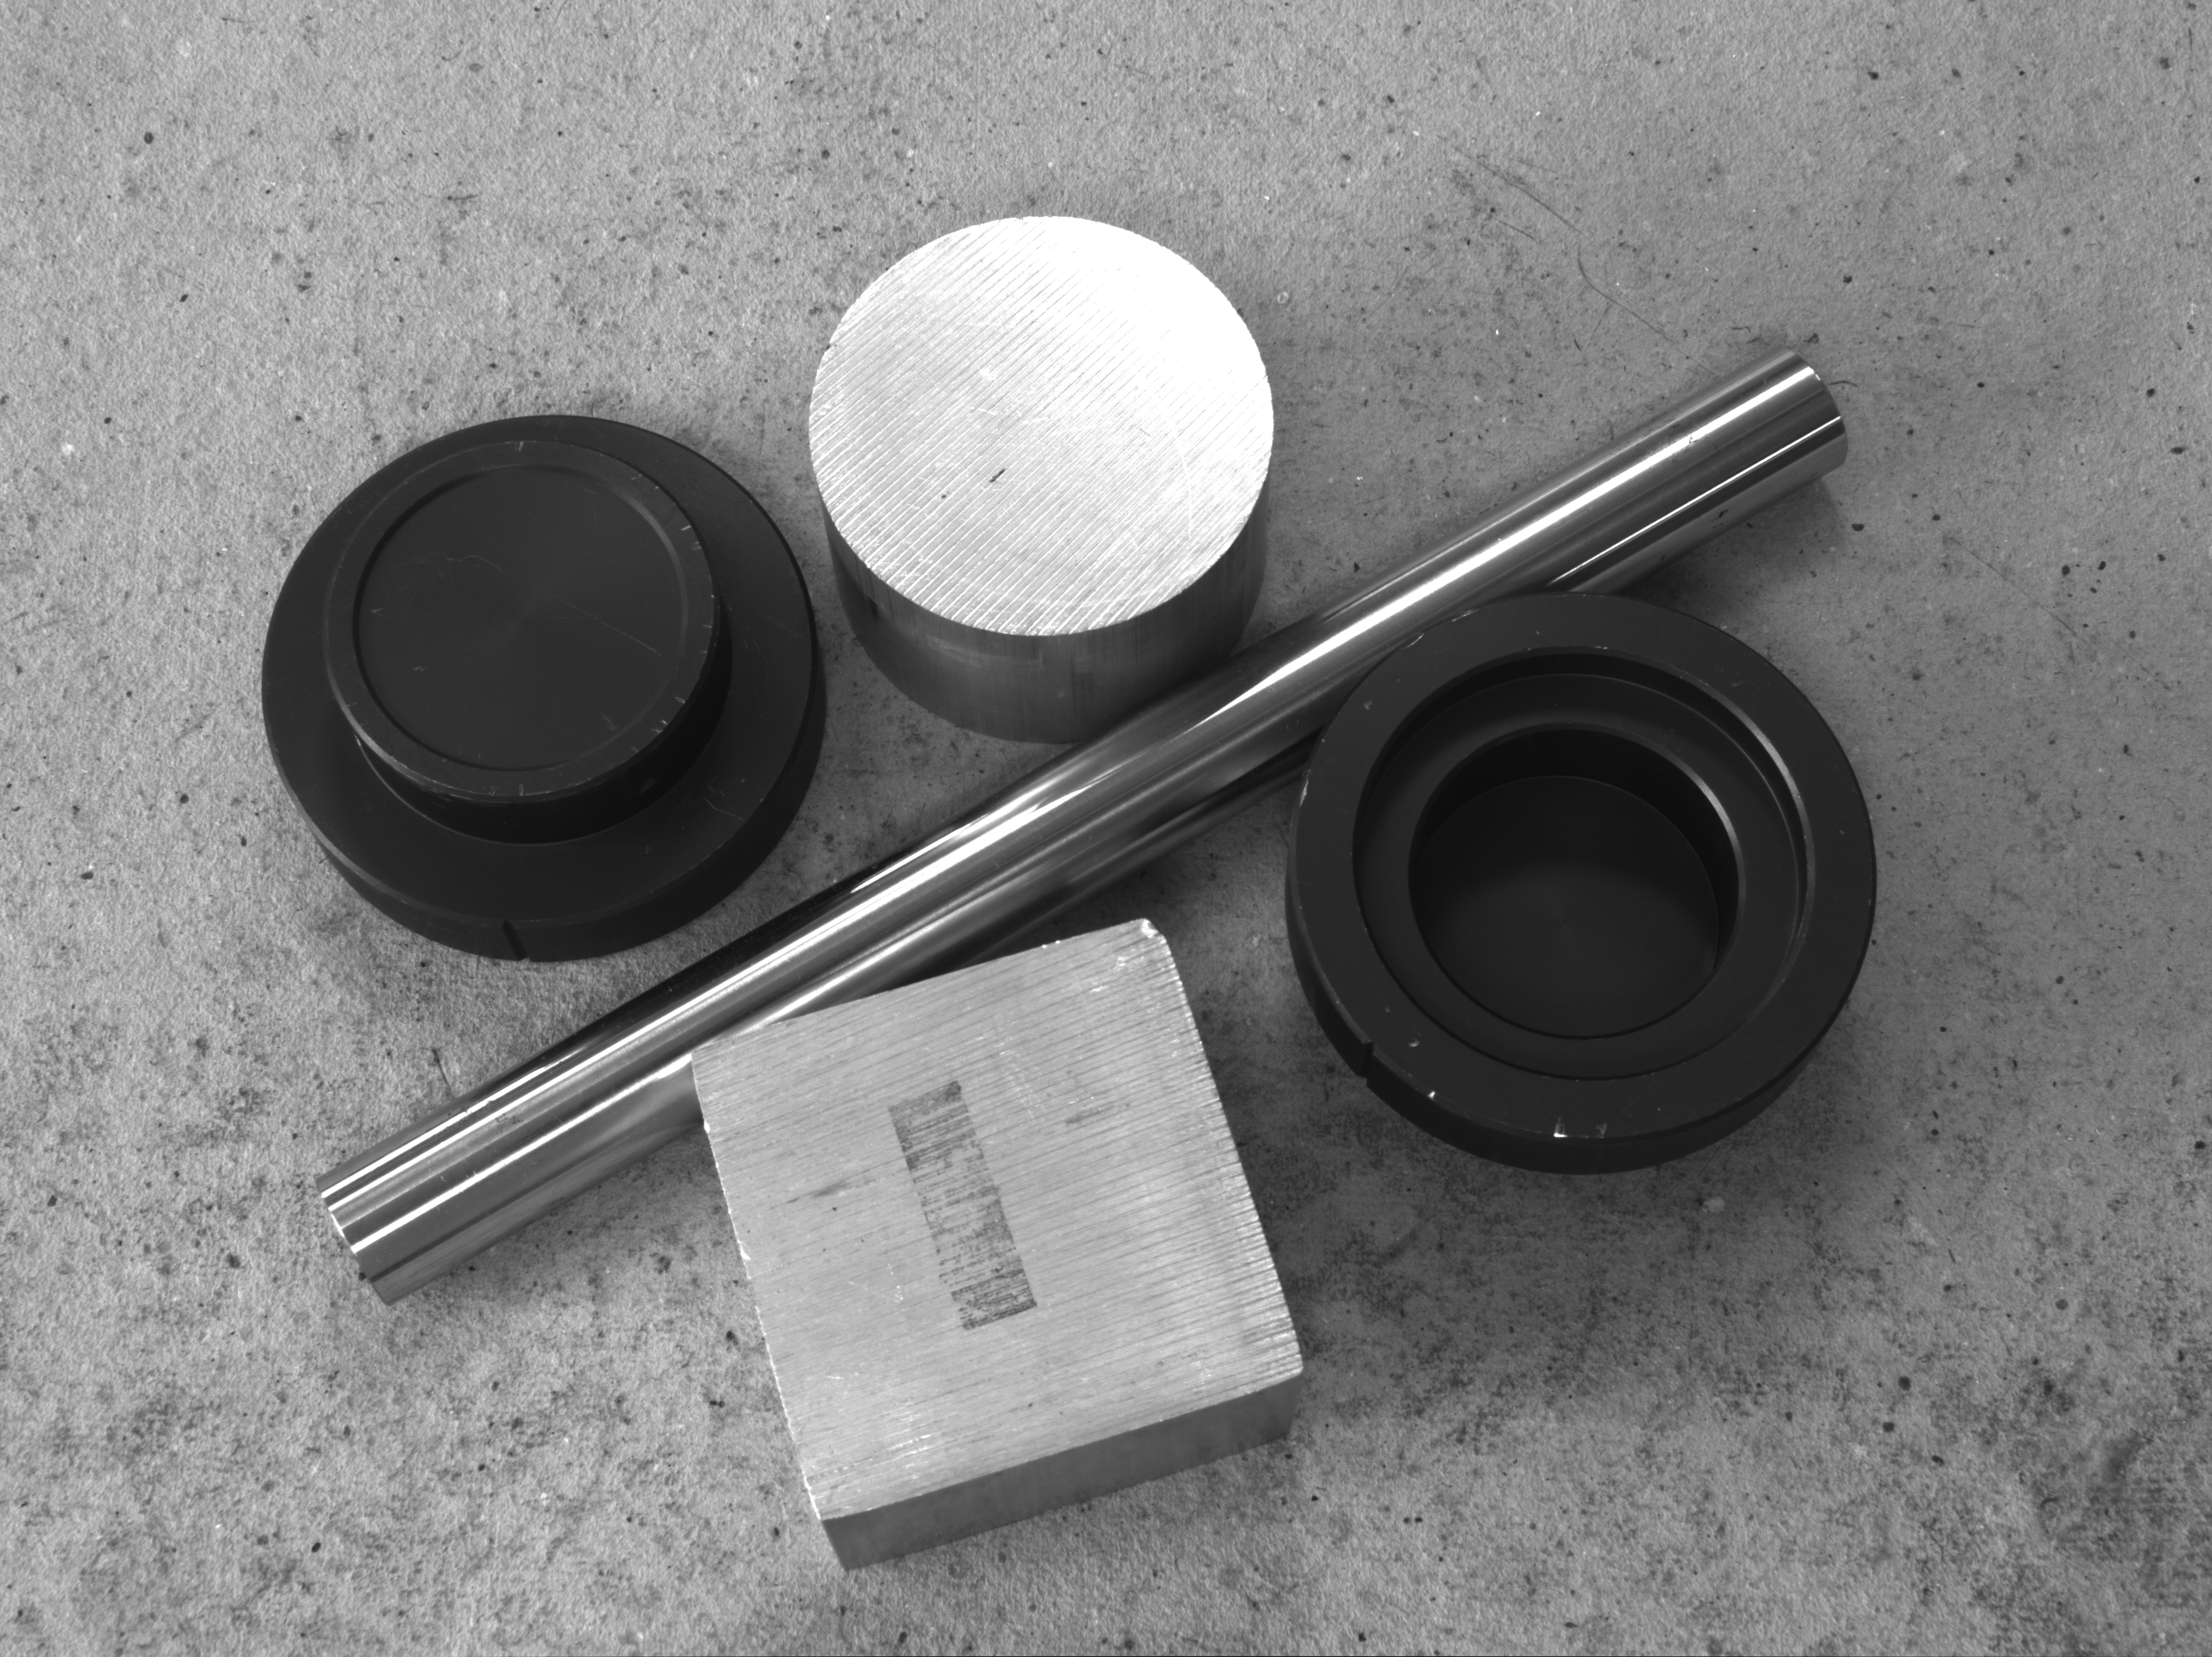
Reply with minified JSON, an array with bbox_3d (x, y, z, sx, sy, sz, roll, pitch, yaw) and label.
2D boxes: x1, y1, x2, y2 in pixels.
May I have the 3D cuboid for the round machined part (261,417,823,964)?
[{"bbox_3d":[-0.100,-0.029,0.647,0.098,0.042,0.098,0,70,0],"label":"round machined part"}]

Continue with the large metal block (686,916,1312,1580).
[{"bbox_3d":[-0.018,0.070,0.607,0.080,0.050,0.080,-16,71,-6],"label":"large metal block"}]

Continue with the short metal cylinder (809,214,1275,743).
[{"bbox_3d":[-0.011,-0.062,0.654,0.080,0.050,0.080,0,70,0],"label":"short metal cylinder"}]

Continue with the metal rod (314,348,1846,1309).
[{"bbox_3d":[0.000,-0.003,0.648,0.300,0.025,0.025,-30,73,-10],"label":"metal rod"}]

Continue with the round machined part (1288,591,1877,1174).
[{"bbox_3d":[0.080,0.012,0.632,0.098,0.042,0.098,0,70,0],"label":"round machined part"}]
